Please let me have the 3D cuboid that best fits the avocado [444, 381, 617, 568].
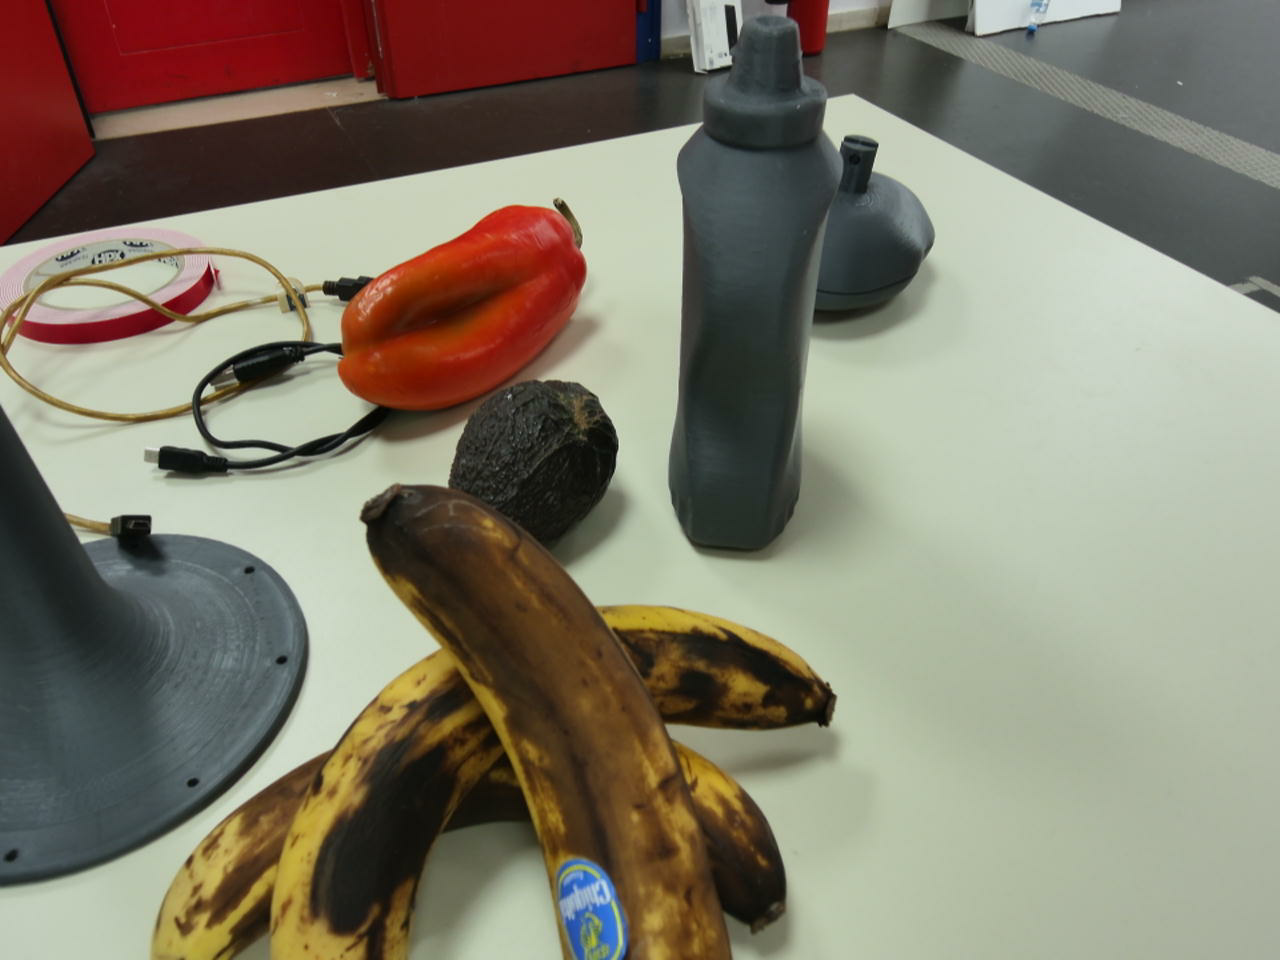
[{"bbox_3d":[-0.048,-0.006,0.414,0.062,0.062,0.092,27,45,30],"label":"avocado"}]
